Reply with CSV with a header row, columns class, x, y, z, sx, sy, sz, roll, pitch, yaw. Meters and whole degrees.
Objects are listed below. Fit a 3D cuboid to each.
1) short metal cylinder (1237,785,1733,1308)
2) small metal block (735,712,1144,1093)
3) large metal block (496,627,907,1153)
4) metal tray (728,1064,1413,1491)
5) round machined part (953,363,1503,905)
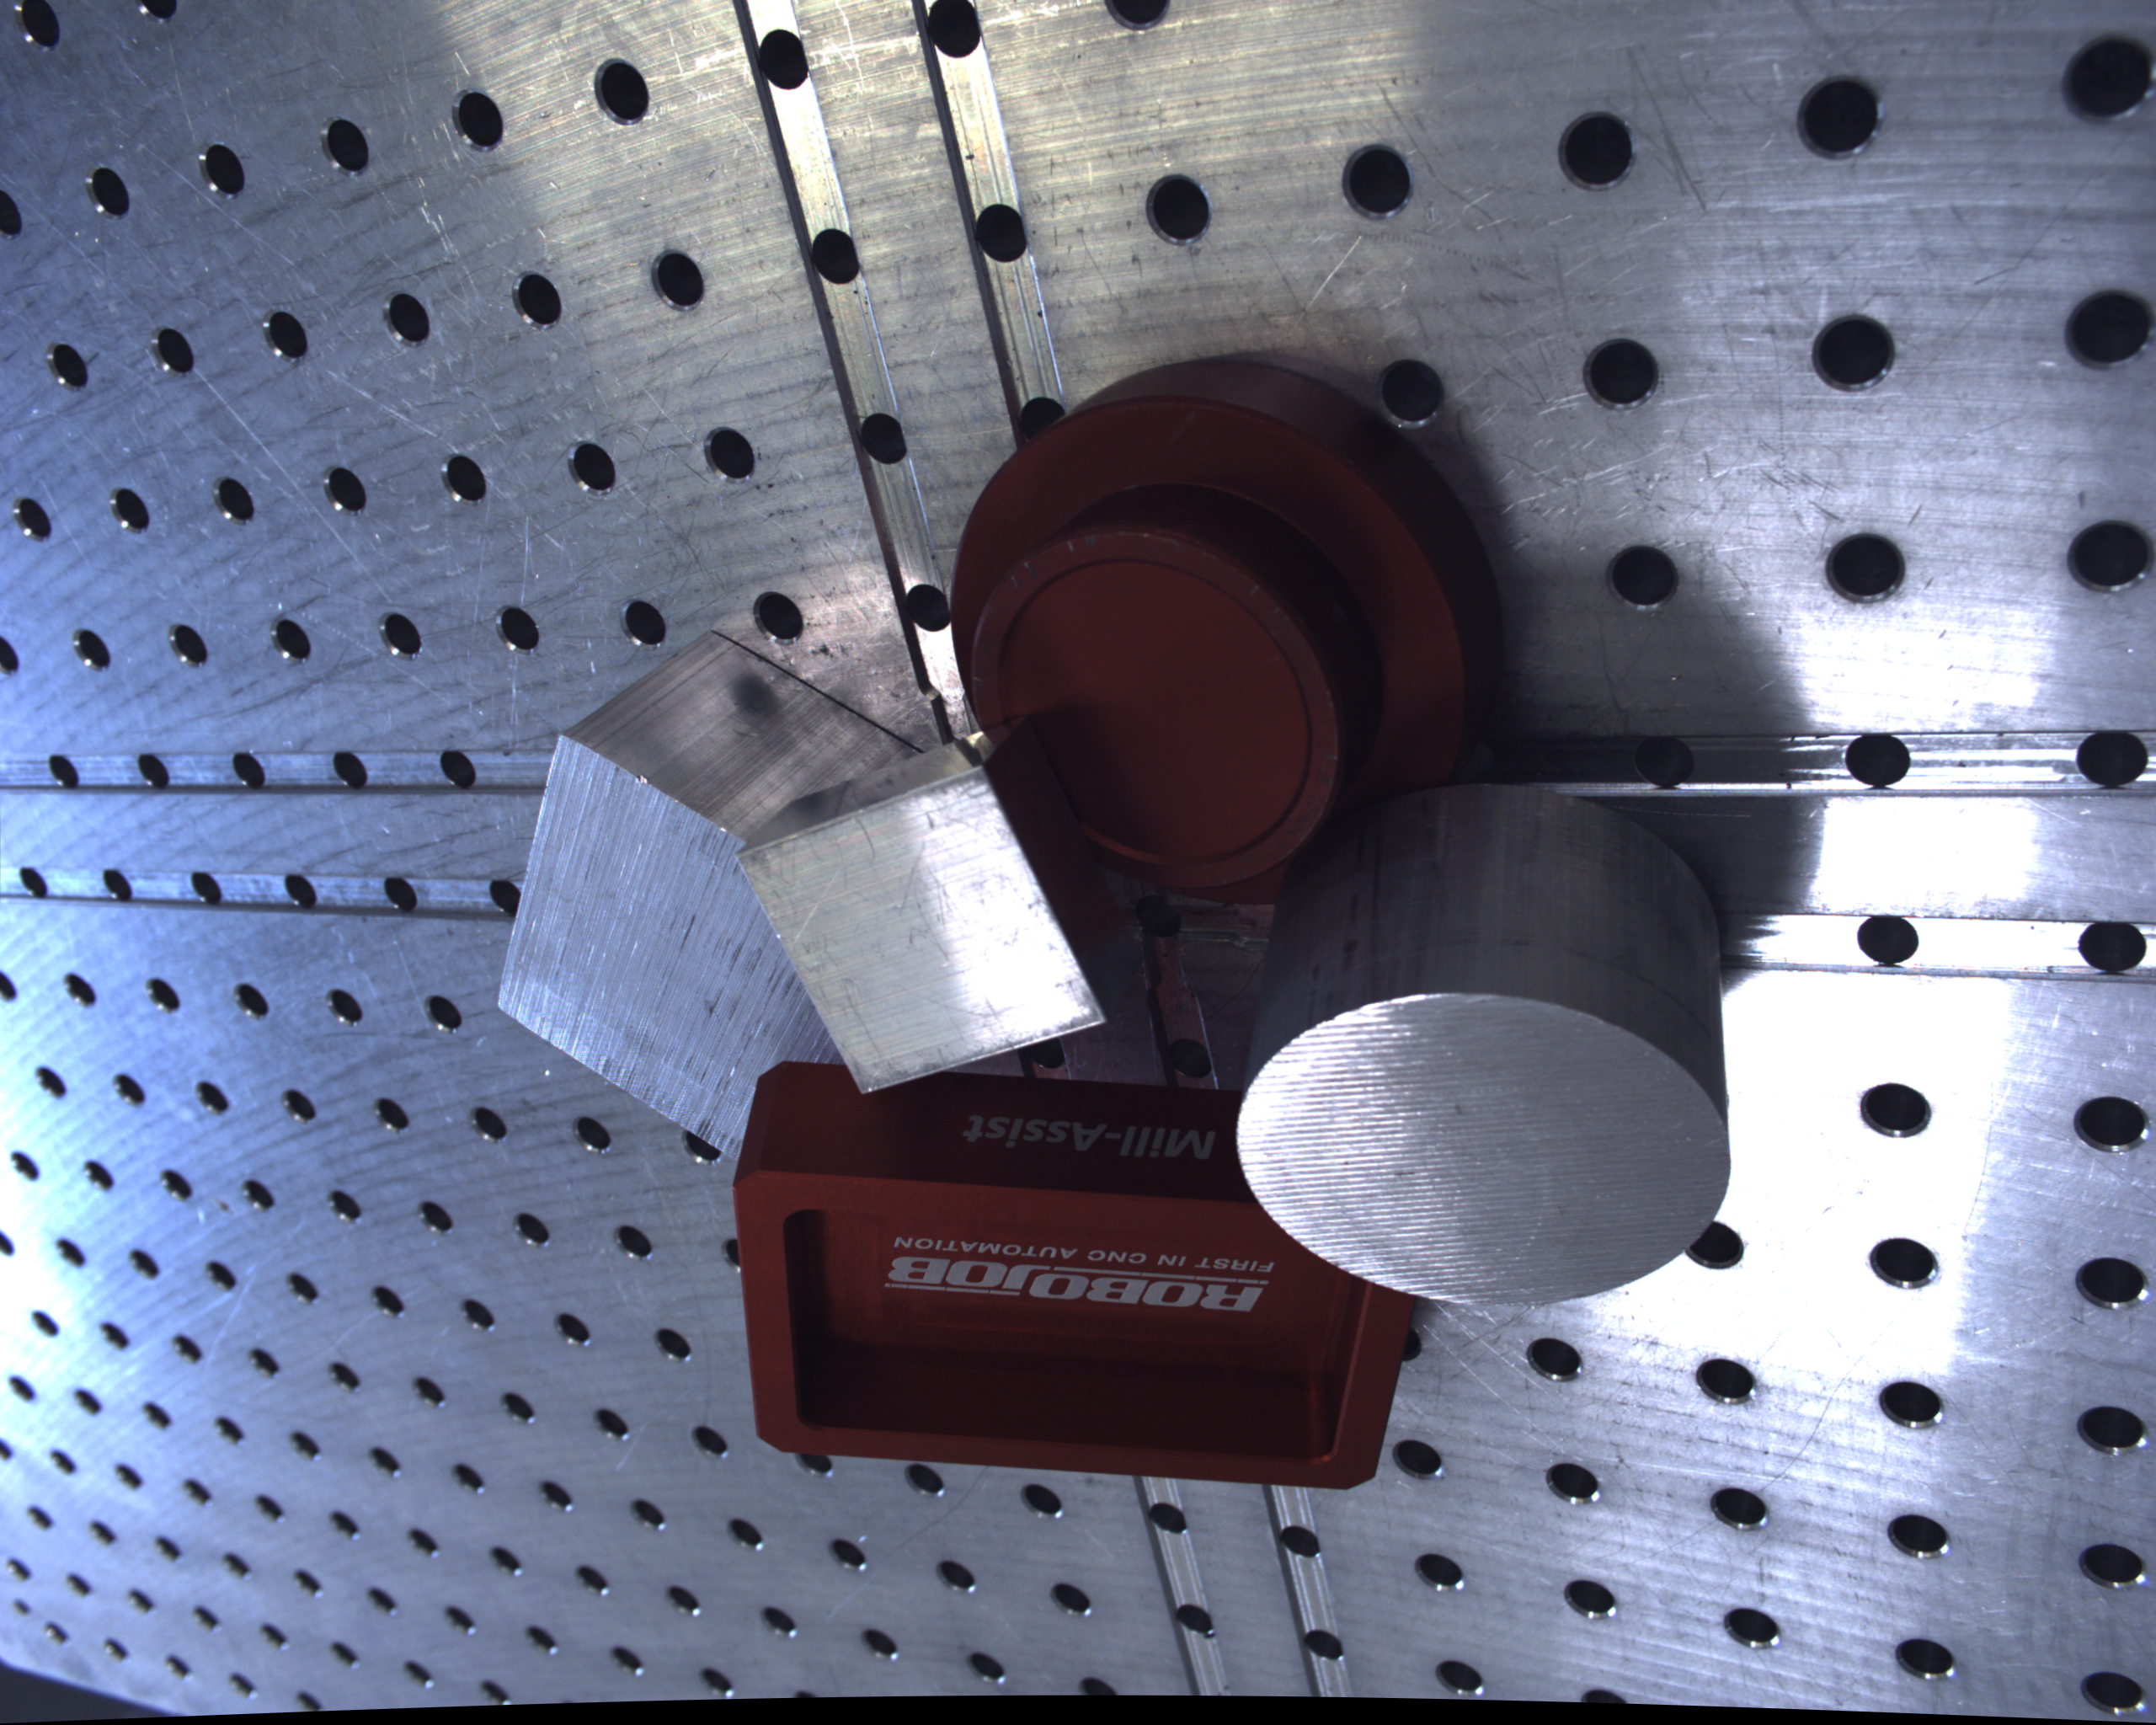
class,x,y,z,sx,sy,sz,roll,pitch,yaw
short metal cylinder,0.071,0.033,0.363,0.080,0.050,0.079,7,133,8
small metal block,-0.024,0.008,0.368,0.050,0.025,0.050,-18,106,23
large metal block,-0.067,0.011,0.437,0.080,0.050,0.079,31,128,8
metal tray,-0.001,0.086,0.425,0.131,0.030,0.089,4,130,0
round machined part,0.021,-0.034,0.368,0.098,0.042,0.097,13,124,21
